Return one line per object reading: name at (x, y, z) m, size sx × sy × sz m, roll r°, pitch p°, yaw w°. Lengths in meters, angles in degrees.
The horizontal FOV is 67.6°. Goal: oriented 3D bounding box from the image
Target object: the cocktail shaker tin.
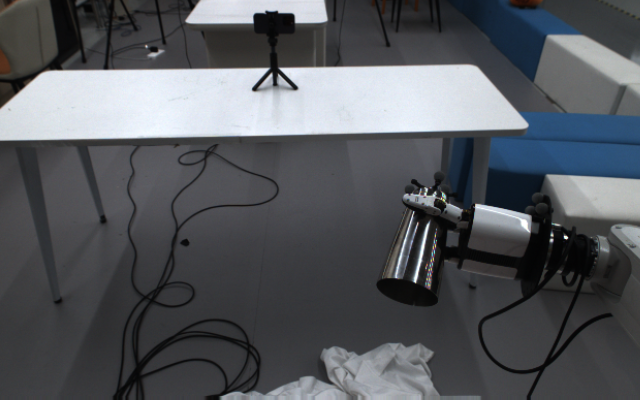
cocktail shaker tin at (0.152, 0.063, 0.749) m, size 0.093 × 0.093 × 0.170 m, roll 13°, pitch 59°, yaw 16°
